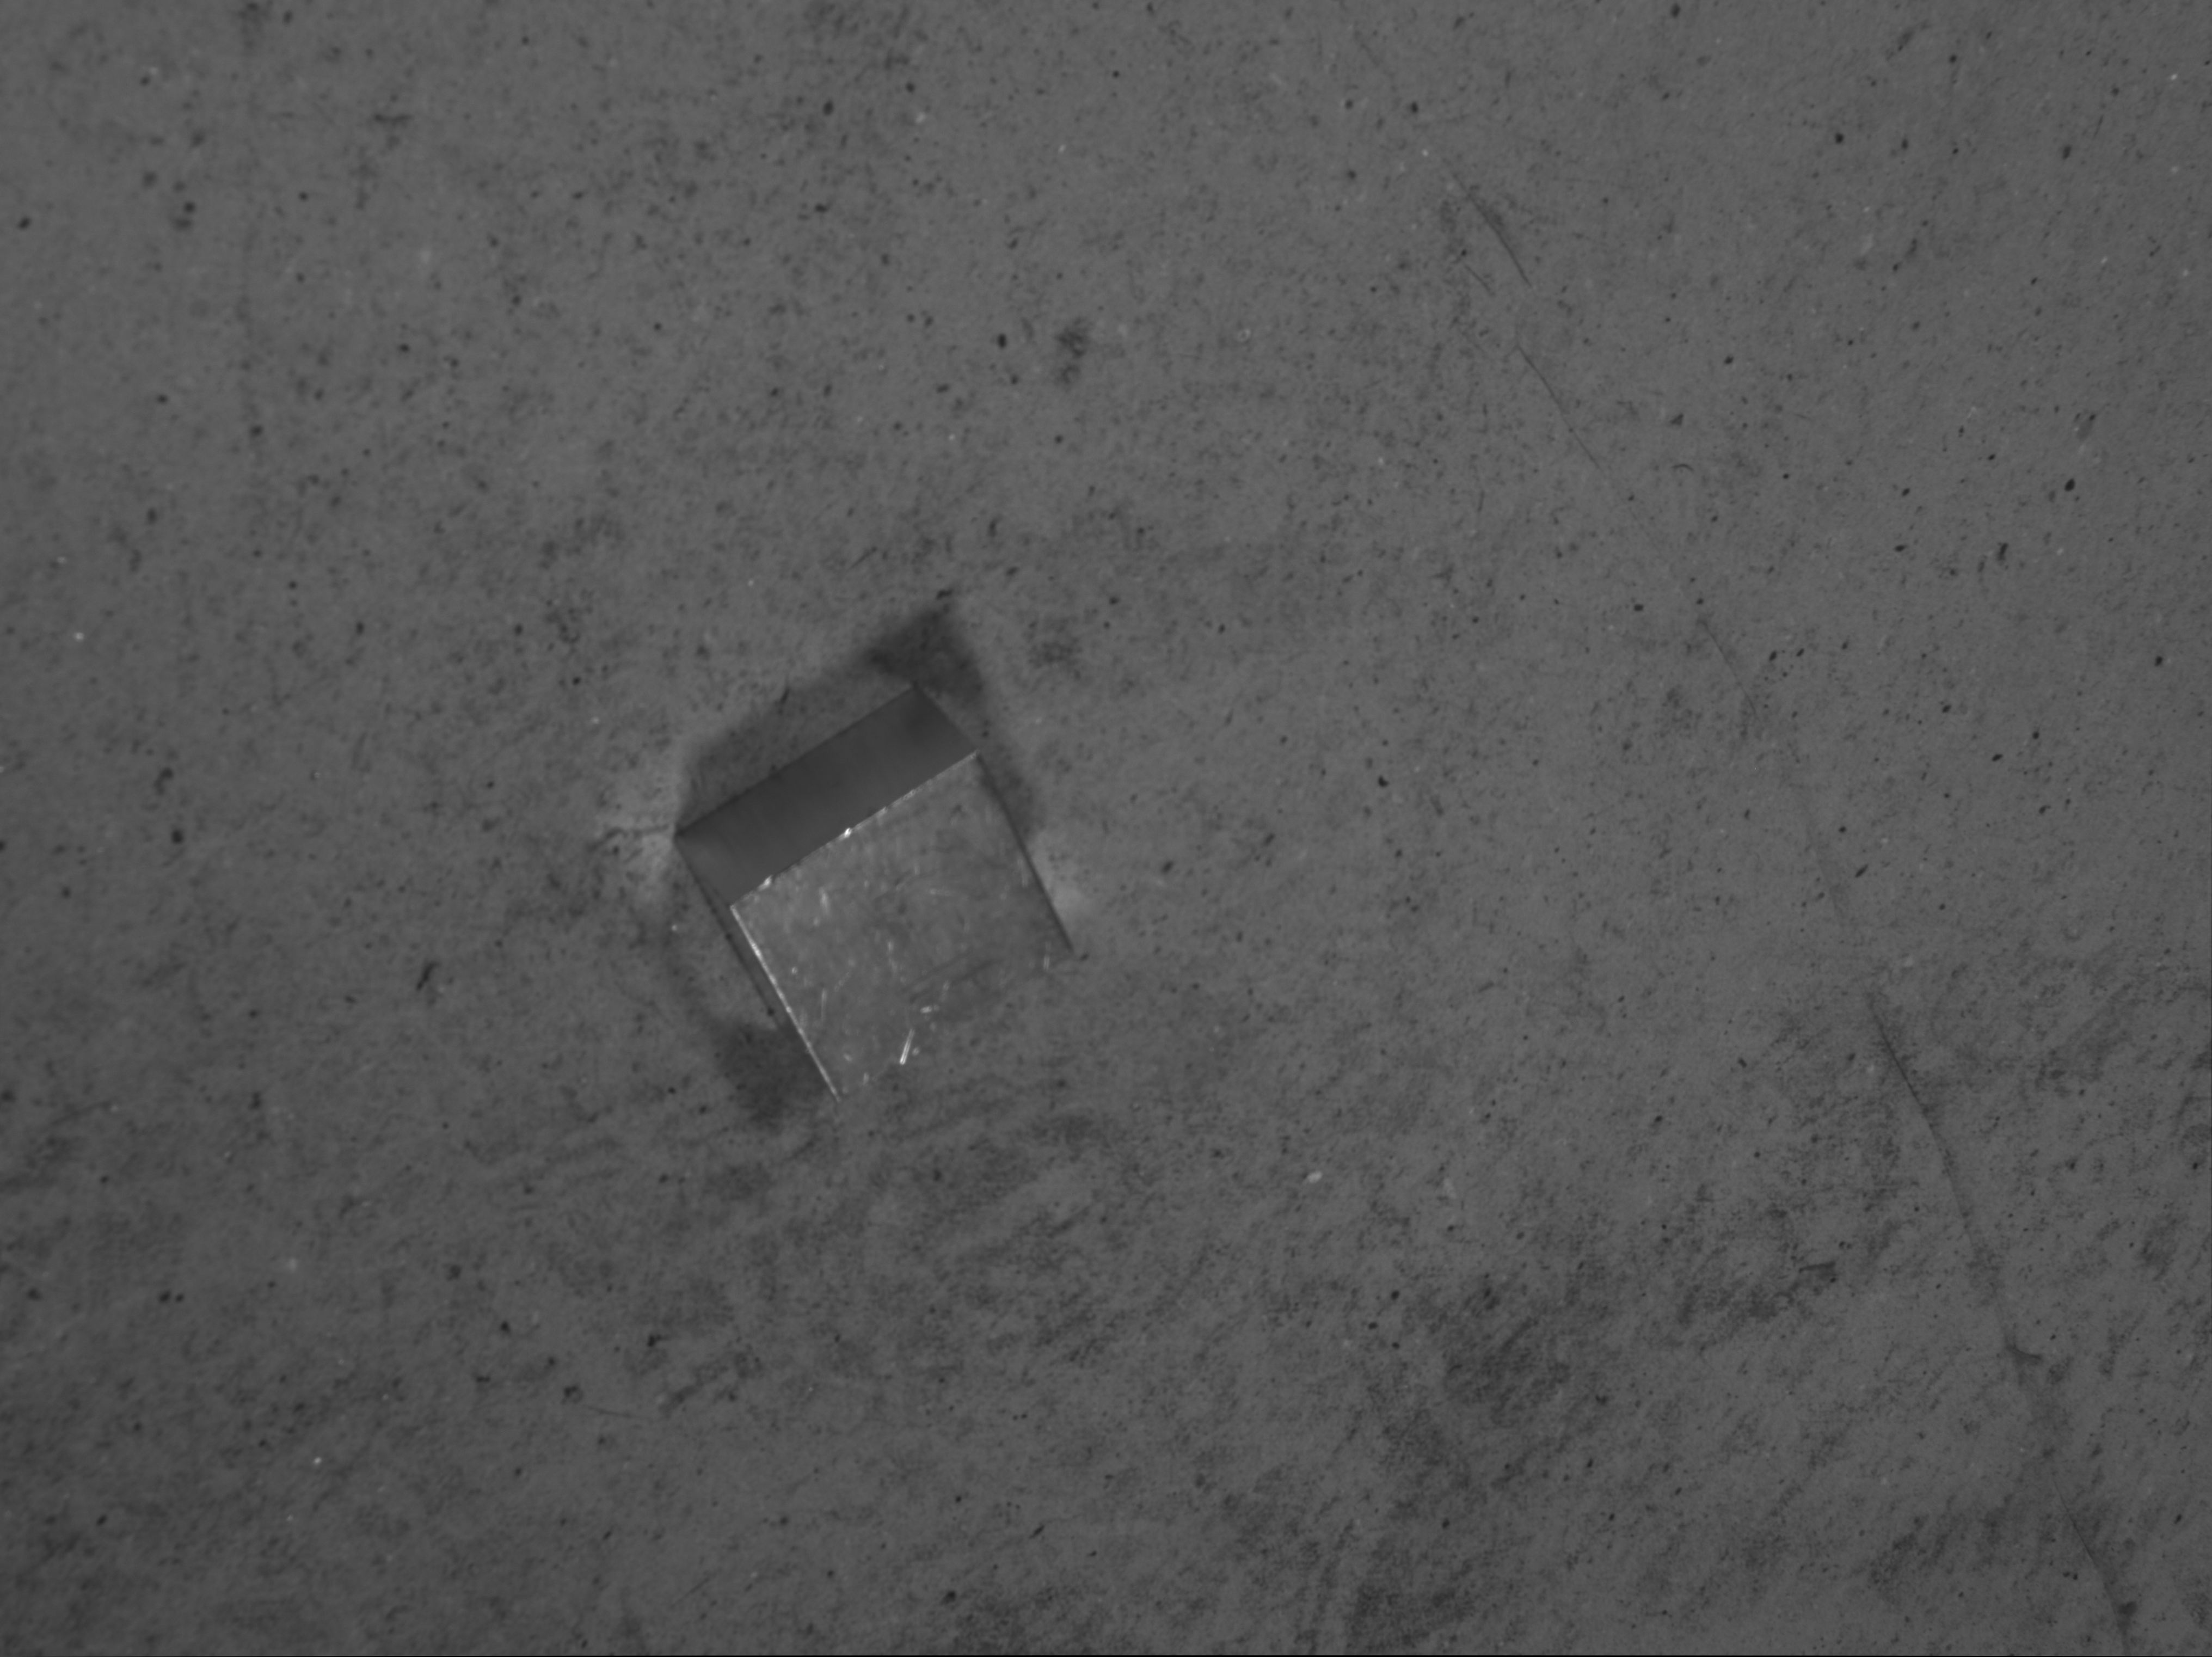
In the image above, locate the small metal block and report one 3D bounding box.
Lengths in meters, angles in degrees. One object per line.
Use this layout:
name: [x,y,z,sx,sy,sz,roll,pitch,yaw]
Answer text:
small metal block: [-0.033,0.013,0.640,0.050,0.025,0.050,-32,129,-9]
